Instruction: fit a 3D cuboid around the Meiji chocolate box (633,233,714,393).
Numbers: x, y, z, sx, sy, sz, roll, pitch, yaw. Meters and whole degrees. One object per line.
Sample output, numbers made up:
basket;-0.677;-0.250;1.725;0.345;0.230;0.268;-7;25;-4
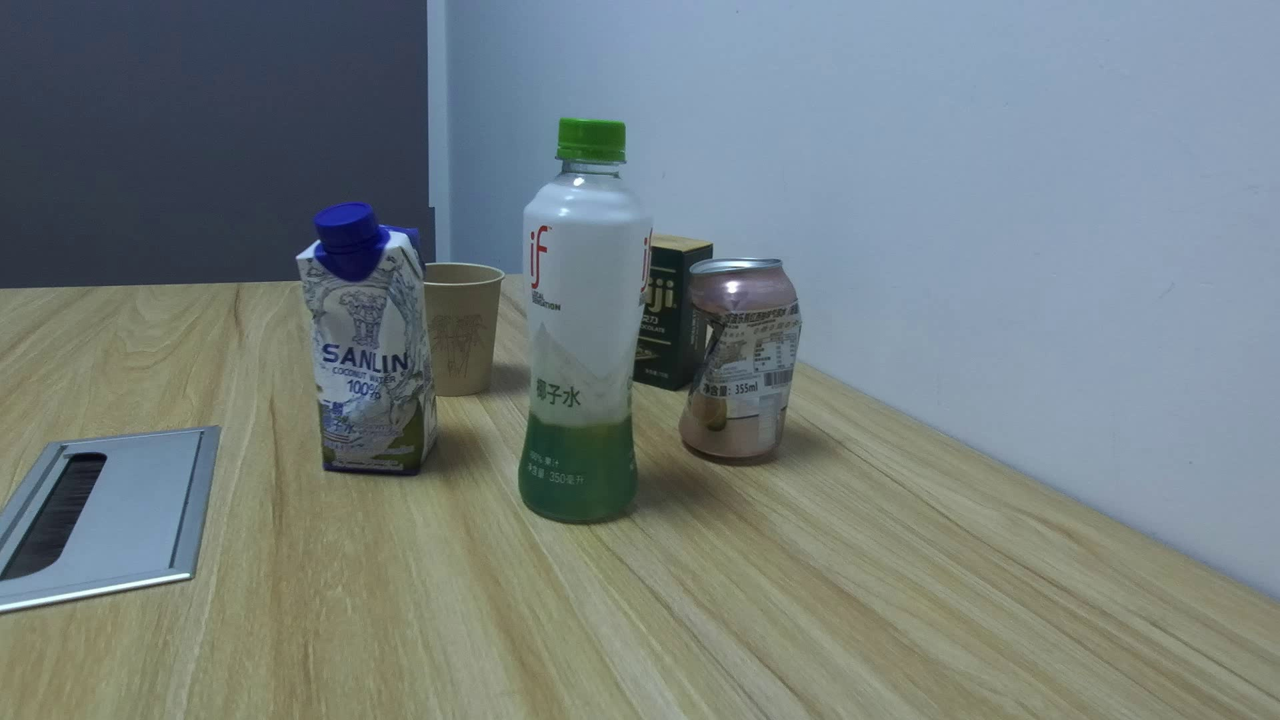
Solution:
Meiji chocolate box;-0.003;-0.043;0.557;0.109;0.109;0.056;13;22;27

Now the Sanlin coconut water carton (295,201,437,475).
Sanlin coconut water carton;-0.146;-0.013;0.382;0.061;0.143;0.070;3;20;-1

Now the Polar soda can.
Polar soda can;0.054;-0.002;0.433;0.067;0.122;0.070;-16;24;-36

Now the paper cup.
paper cup;-0.134;-0.020;0.511;0.075;0.082;0.075;2;15;0

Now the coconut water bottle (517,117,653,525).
coconut water bottle;-0.026;-0.018;0.349;0.063;0.188;0.063;4;18;-1
